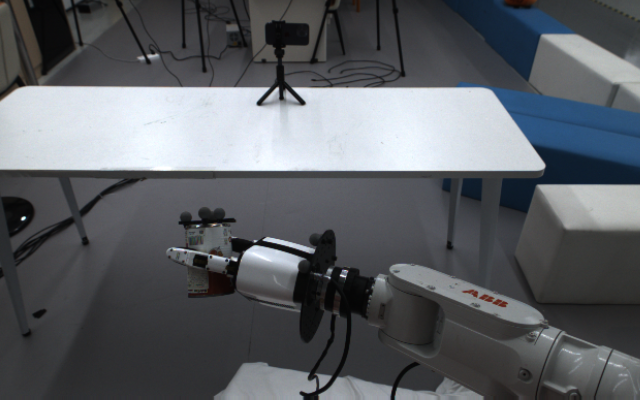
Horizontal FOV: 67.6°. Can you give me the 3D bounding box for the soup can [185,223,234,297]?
[{"bbox_3d":[-0.159,0.089,0.705,0.067,0.101,0.067,-5,-5,0],"label":"soup can"}]
